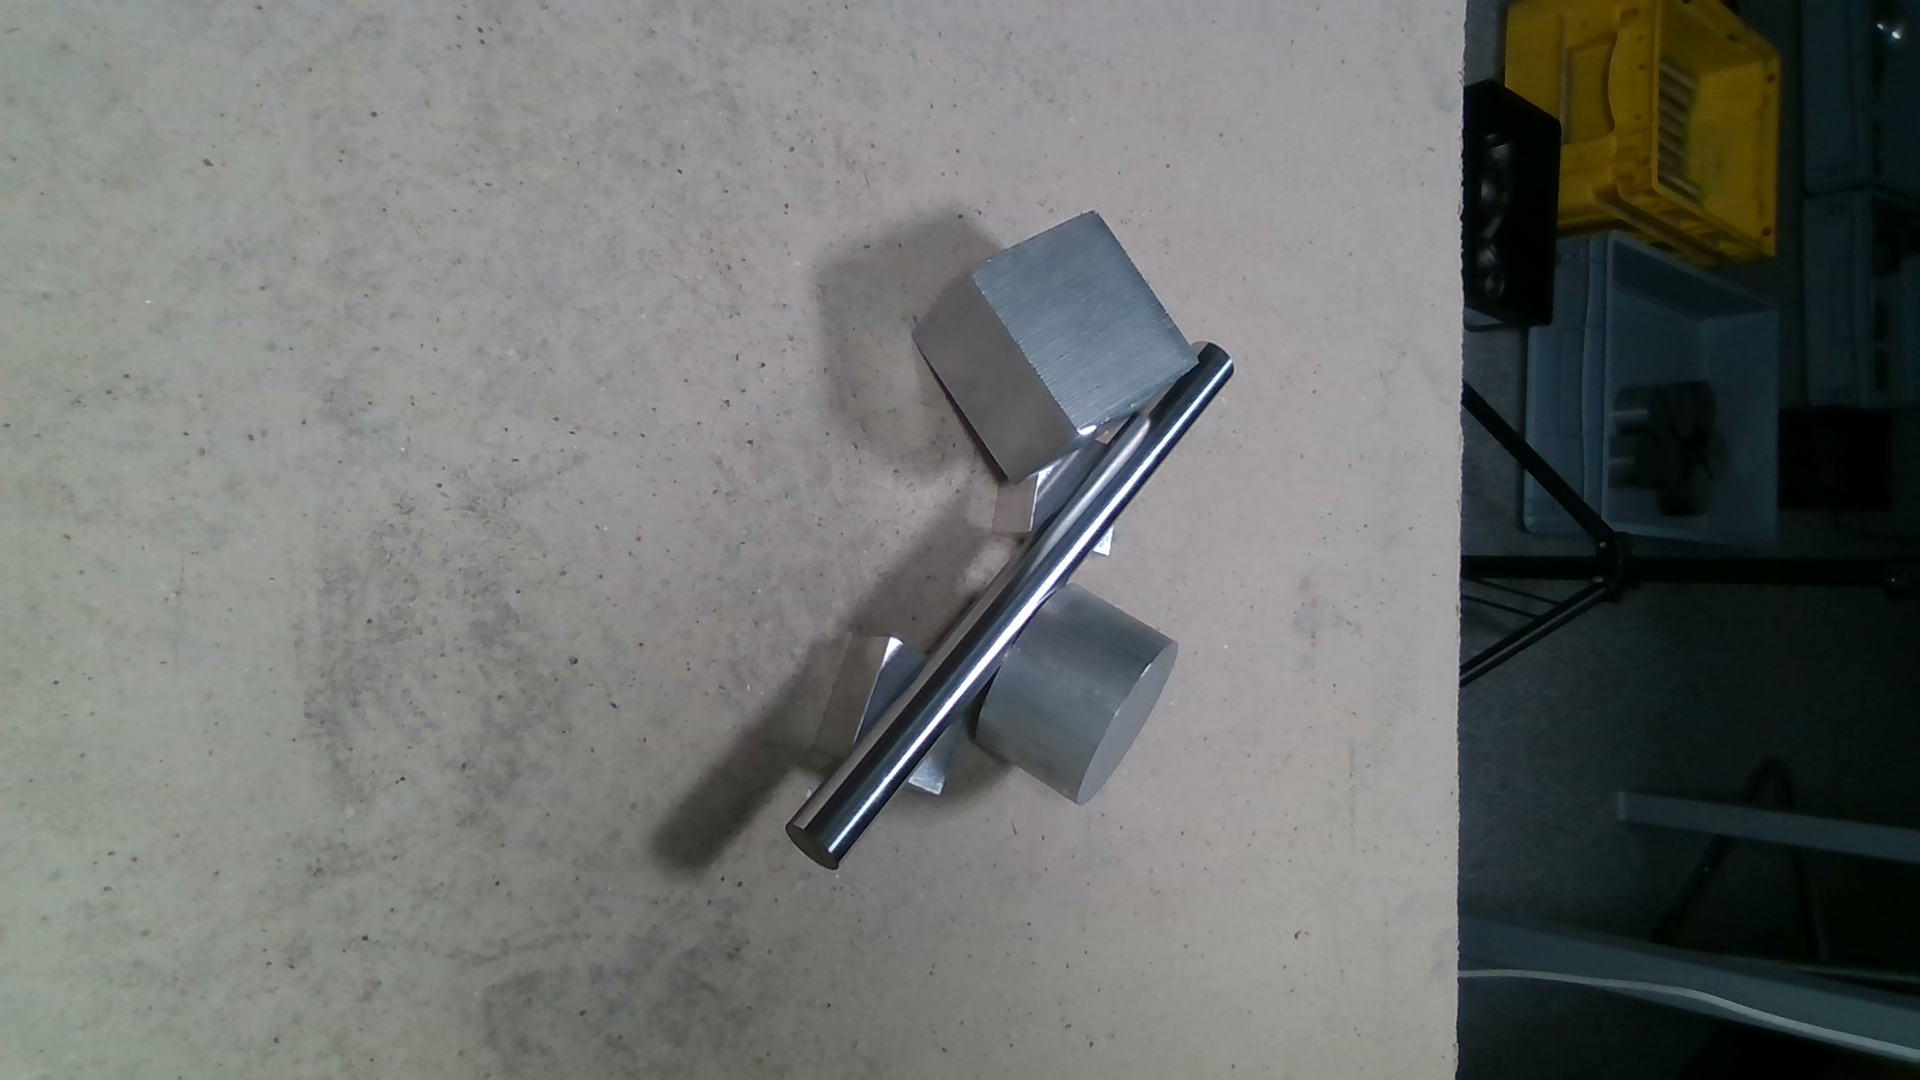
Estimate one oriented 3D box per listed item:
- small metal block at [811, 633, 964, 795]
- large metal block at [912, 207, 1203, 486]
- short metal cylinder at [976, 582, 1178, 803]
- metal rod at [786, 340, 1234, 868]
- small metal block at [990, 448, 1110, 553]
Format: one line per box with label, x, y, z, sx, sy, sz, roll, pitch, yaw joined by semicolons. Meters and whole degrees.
small metal block;-0.026;0.071;0.562;0.050;0.025;0.050;31;71;-36
large metal block;0.041;-0.082;0.580;0.080;0.050;0.080;-32;87;-35
short metal cylinder;0.050;0.065;0.583;0.080;0.050;0.080;-50;160;-26
metal rod;0.032;0.014;0.578;0.299;0.025;0.025;-49;119;-29
small metal block;0.044;-0.024;0.621;0.050;0.025;0.050;16;80;-39
